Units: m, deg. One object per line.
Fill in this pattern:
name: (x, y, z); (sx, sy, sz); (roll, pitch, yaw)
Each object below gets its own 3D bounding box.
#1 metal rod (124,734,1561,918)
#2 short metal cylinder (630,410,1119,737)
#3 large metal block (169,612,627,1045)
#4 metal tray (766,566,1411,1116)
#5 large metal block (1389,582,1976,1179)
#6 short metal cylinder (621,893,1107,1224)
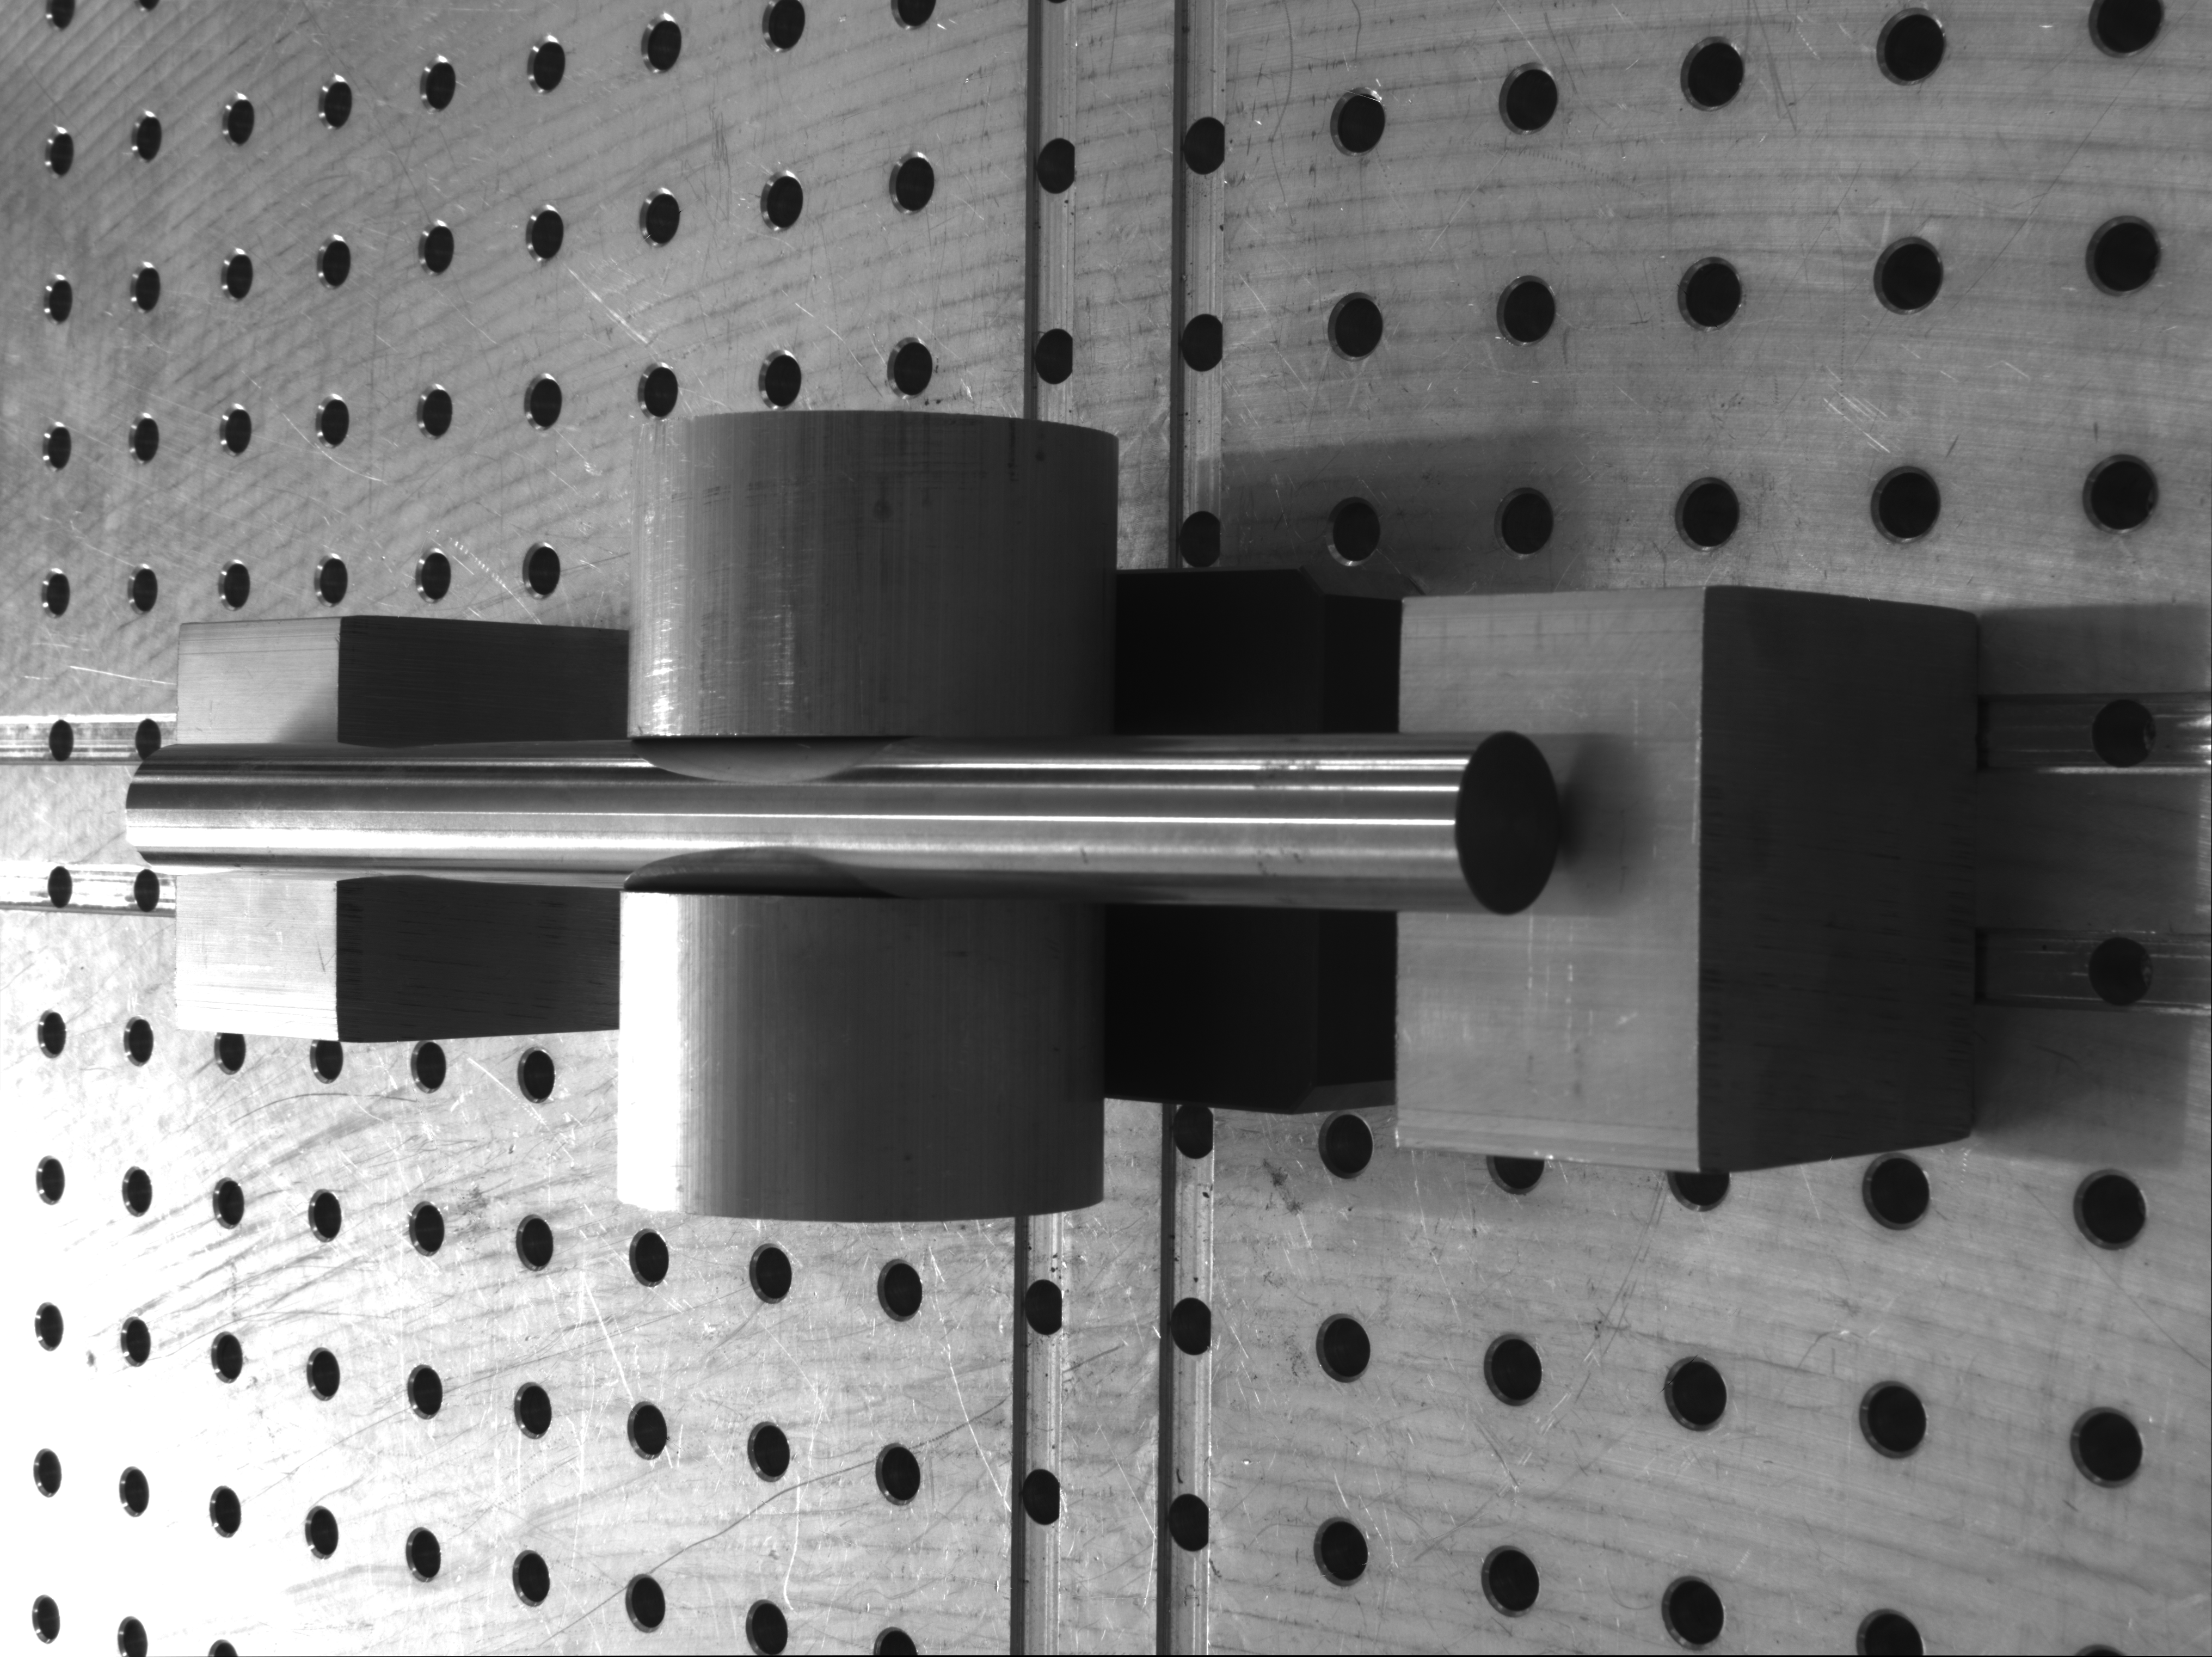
metal rod: (-0.060, -0.002, 0.593); (0.299, 0.025, 0.025); (1, 90, 40)
short metal cylinder: (-0.038, -0.040, 0.605); (0.080, 0.080, 0.050); (1, 90, 40)
large metal block: (-0.136, 0.000, 0.725); (0.050, 0.080, 0.080); (1, 90, 40)
metal tray: (-0.005, 0.001, 0.649); (0.129, 0.030, 0.090); (2, 91, 40)
large metal block: (0.086, 0.007, 0.538); (0.050, 0.080, 0.080); (1, 90, 40)
short metal cylinder: (-0.040, 0.036, 0.606); (0.080, 0.080, 0.050); (1, 90, 40)
